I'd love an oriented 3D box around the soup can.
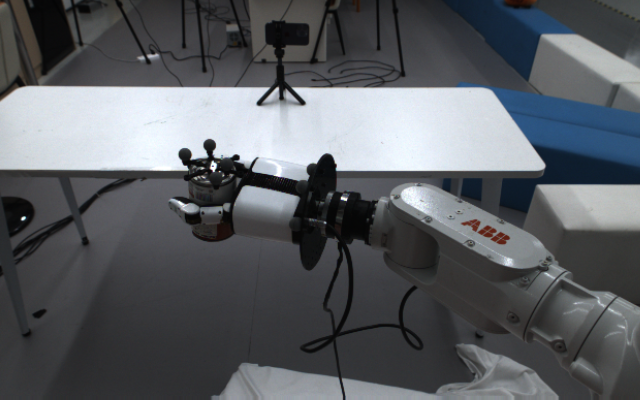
[{"bbox_3d":[-0.151,0.003,0.688,0.067,0.101,0.067,5,37,-4],"label":"soup can"}]
